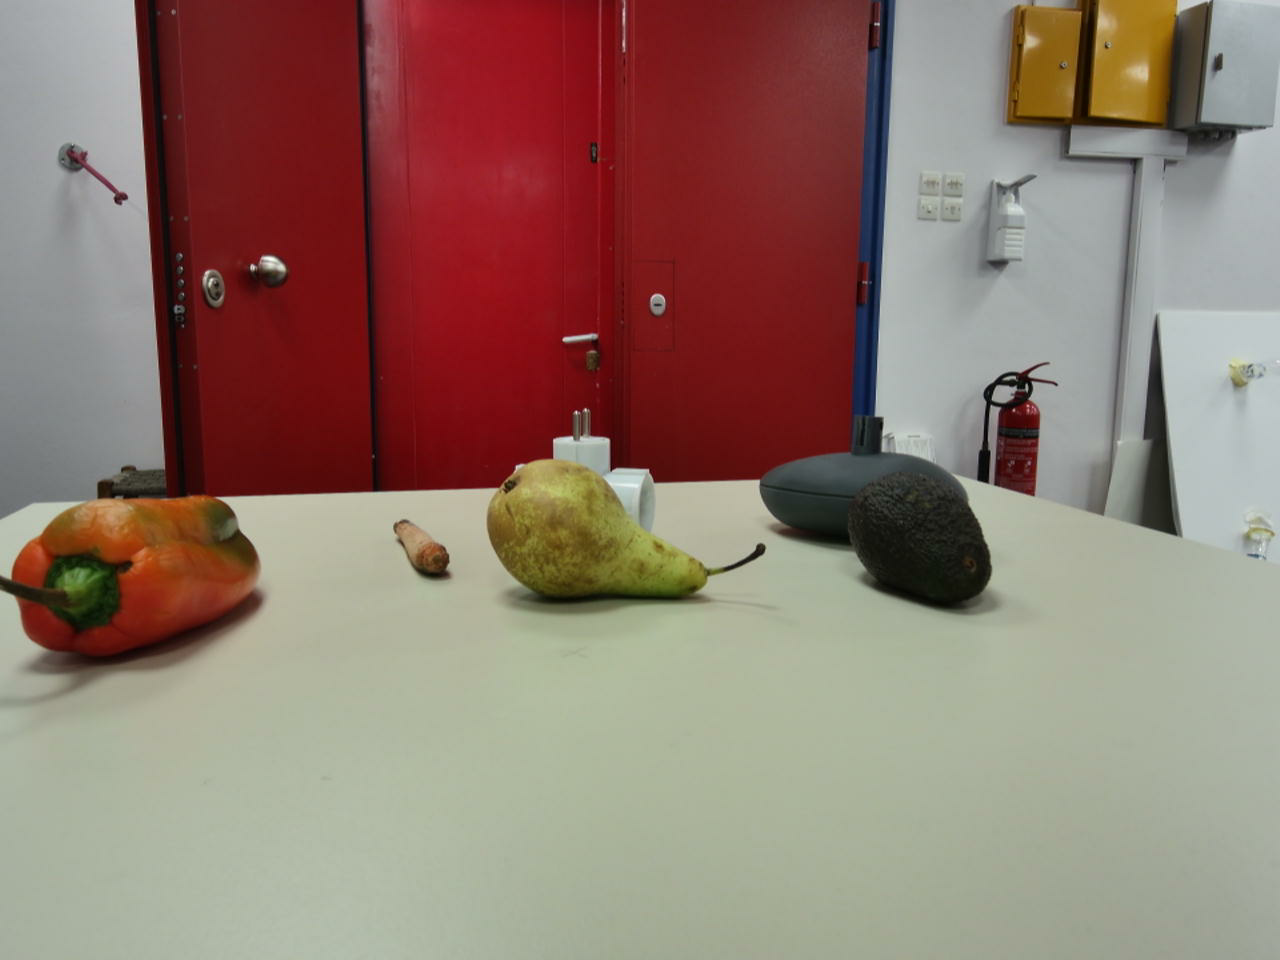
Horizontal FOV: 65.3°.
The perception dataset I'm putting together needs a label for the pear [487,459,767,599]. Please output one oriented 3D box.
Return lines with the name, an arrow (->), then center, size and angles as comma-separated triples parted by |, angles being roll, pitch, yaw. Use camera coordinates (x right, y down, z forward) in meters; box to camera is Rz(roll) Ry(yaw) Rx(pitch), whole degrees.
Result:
pear -> -0.010, 0.025, 0.543 | 0.144, 0.075, 0.071 | -1, 7, -5
